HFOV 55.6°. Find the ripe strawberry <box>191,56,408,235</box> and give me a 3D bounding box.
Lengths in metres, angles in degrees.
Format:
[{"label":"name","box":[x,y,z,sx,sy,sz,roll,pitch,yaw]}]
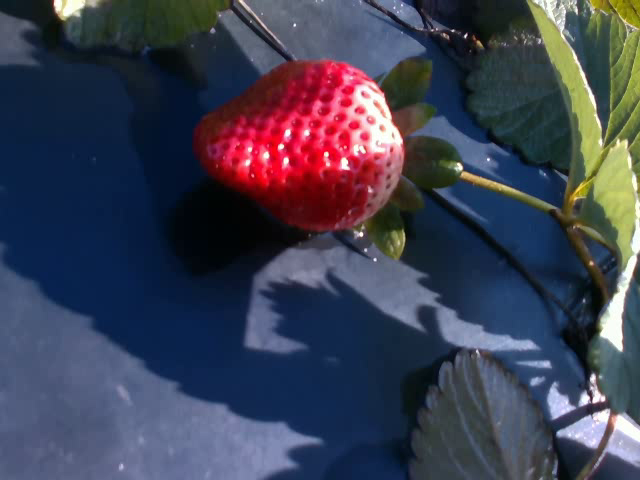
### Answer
[{"label":"ripe strawberry","box":[-0.005,-0.018,0.124,0.055,0.042,0.044,-14,15,-43]}]
